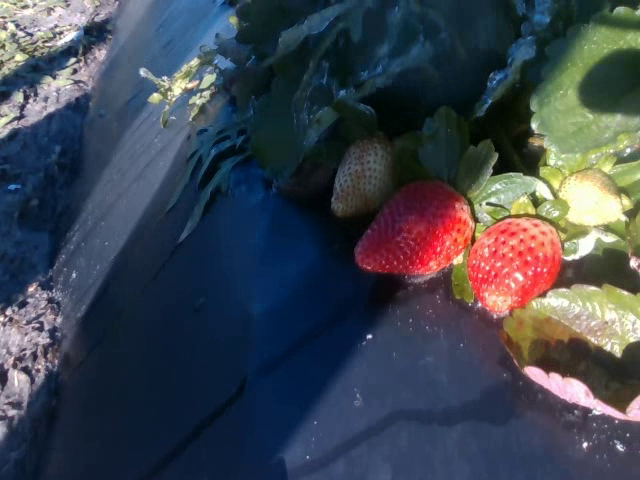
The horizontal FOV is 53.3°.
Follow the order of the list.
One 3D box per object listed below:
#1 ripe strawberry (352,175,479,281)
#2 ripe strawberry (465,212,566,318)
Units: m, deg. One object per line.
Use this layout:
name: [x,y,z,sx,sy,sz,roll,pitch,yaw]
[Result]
ripe strawberry: [0.030,0.000,0.230,0.051,0.040,0.036,-23,25,-35]
ripe strawberry: [0.066,0.010,0.217,0.036,0.041,0.030,-12,-47,35]
